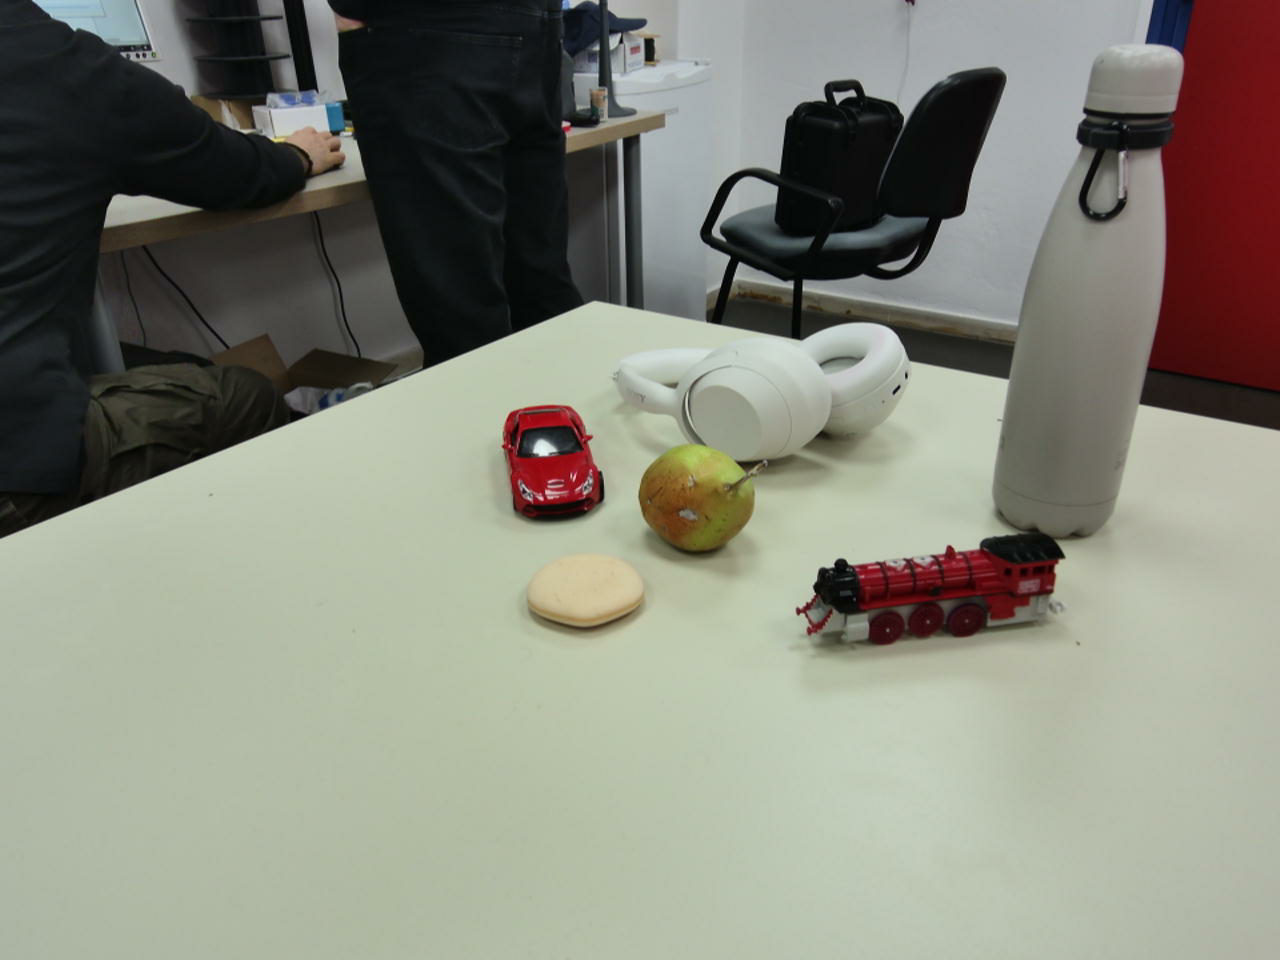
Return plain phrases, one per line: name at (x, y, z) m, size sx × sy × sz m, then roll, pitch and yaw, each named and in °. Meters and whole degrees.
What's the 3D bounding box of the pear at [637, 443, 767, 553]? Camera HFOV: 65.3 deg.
pear at (0.033, 0.008, 0.593) m, size 0.068 × 0.069 × 0.070 m, roll 0°, pitch 25°, yaw -2°
